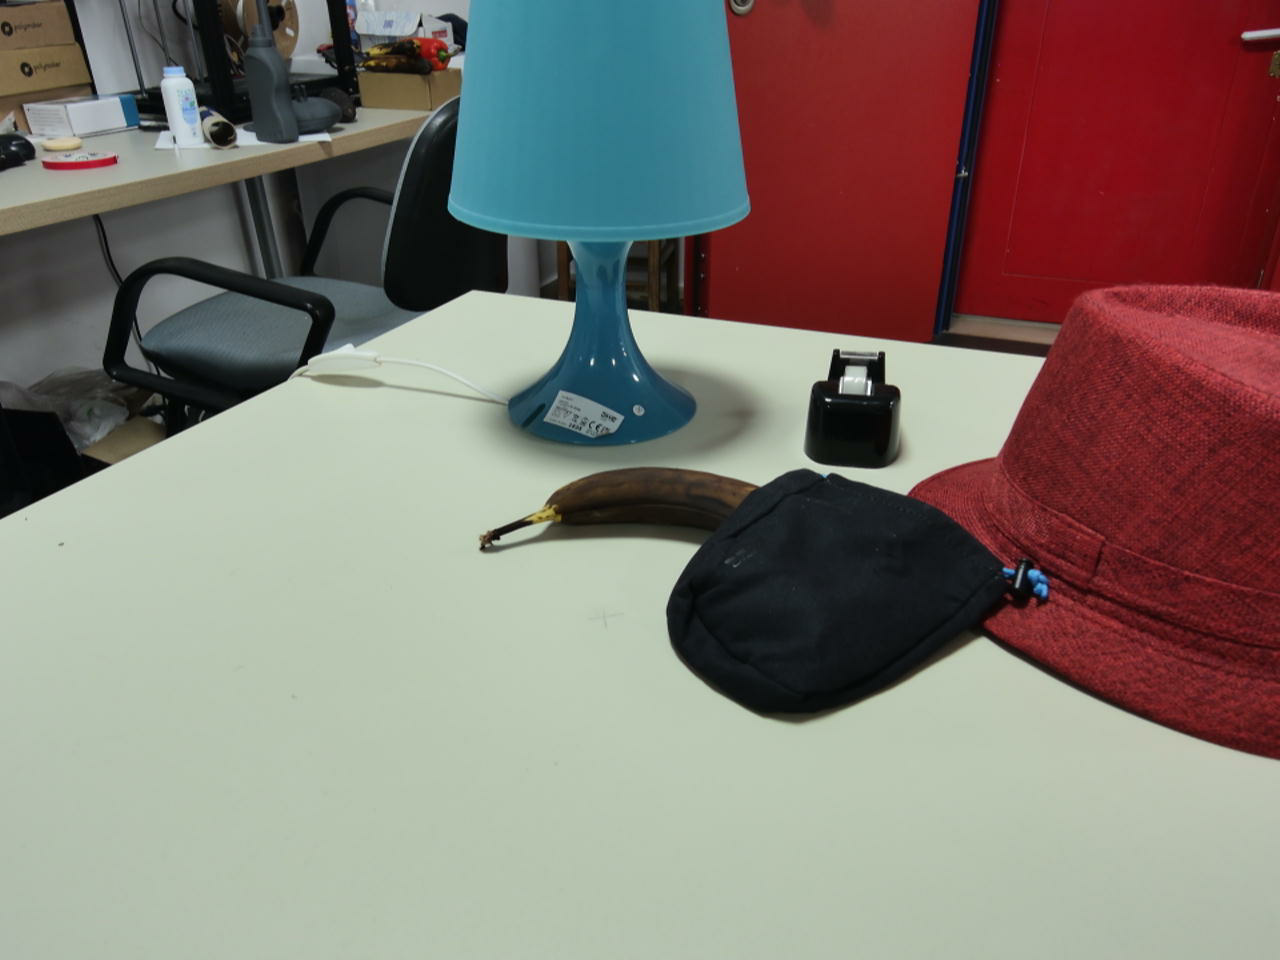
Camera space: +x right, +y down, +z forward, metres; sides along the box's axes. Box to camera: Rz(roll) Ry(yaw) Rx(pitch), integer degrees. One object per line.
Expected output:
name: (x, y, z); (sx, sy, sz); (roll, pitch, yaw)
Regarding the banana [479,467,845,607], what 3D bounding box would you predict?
banana: (0.018, 0.021, 0.519); (0.188, 0.034, 0.091); (11, 28, 24)
